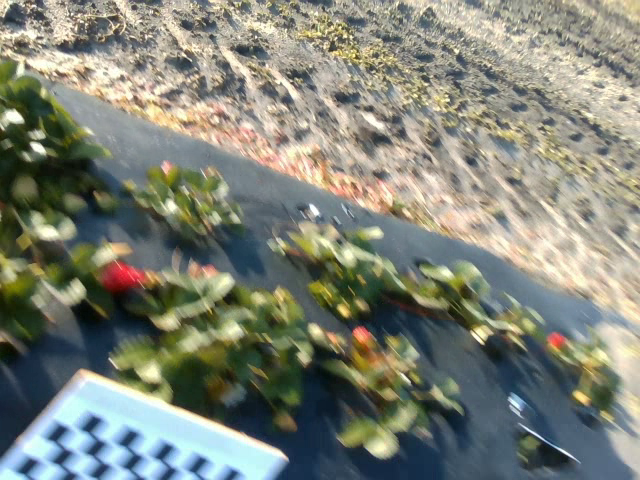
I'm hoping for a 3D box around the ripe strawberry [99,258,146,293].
[{"bbox_3d":[-0.301,0.045,1.052,0.072,0.057,0.055,3,-3,-2],"label":"ripe strawberry"}]
